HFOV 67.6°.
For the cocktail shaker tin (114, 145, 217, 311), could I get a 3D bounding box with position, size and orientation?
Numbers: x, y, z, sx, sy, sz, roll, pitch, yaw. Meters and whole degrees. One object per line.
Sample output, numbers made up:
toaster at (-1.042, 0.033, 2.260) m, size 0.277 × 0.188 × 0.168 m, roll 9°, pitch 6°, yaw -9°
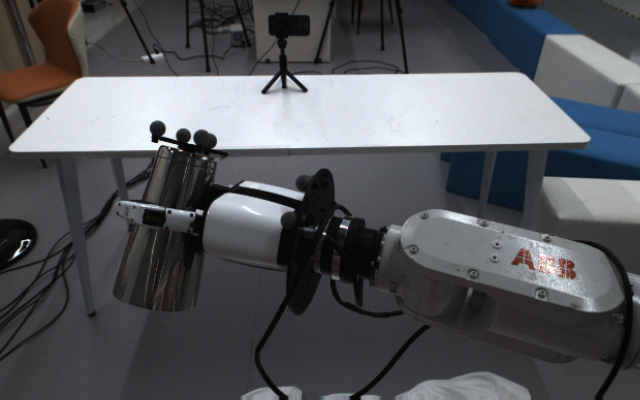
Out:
cocktail shaker tin at (-0.168, 0.030, 0.550) m, size 0.093 × 0.170 × 0.093 m, roll 13°, pitch 2°, yaw 0°
